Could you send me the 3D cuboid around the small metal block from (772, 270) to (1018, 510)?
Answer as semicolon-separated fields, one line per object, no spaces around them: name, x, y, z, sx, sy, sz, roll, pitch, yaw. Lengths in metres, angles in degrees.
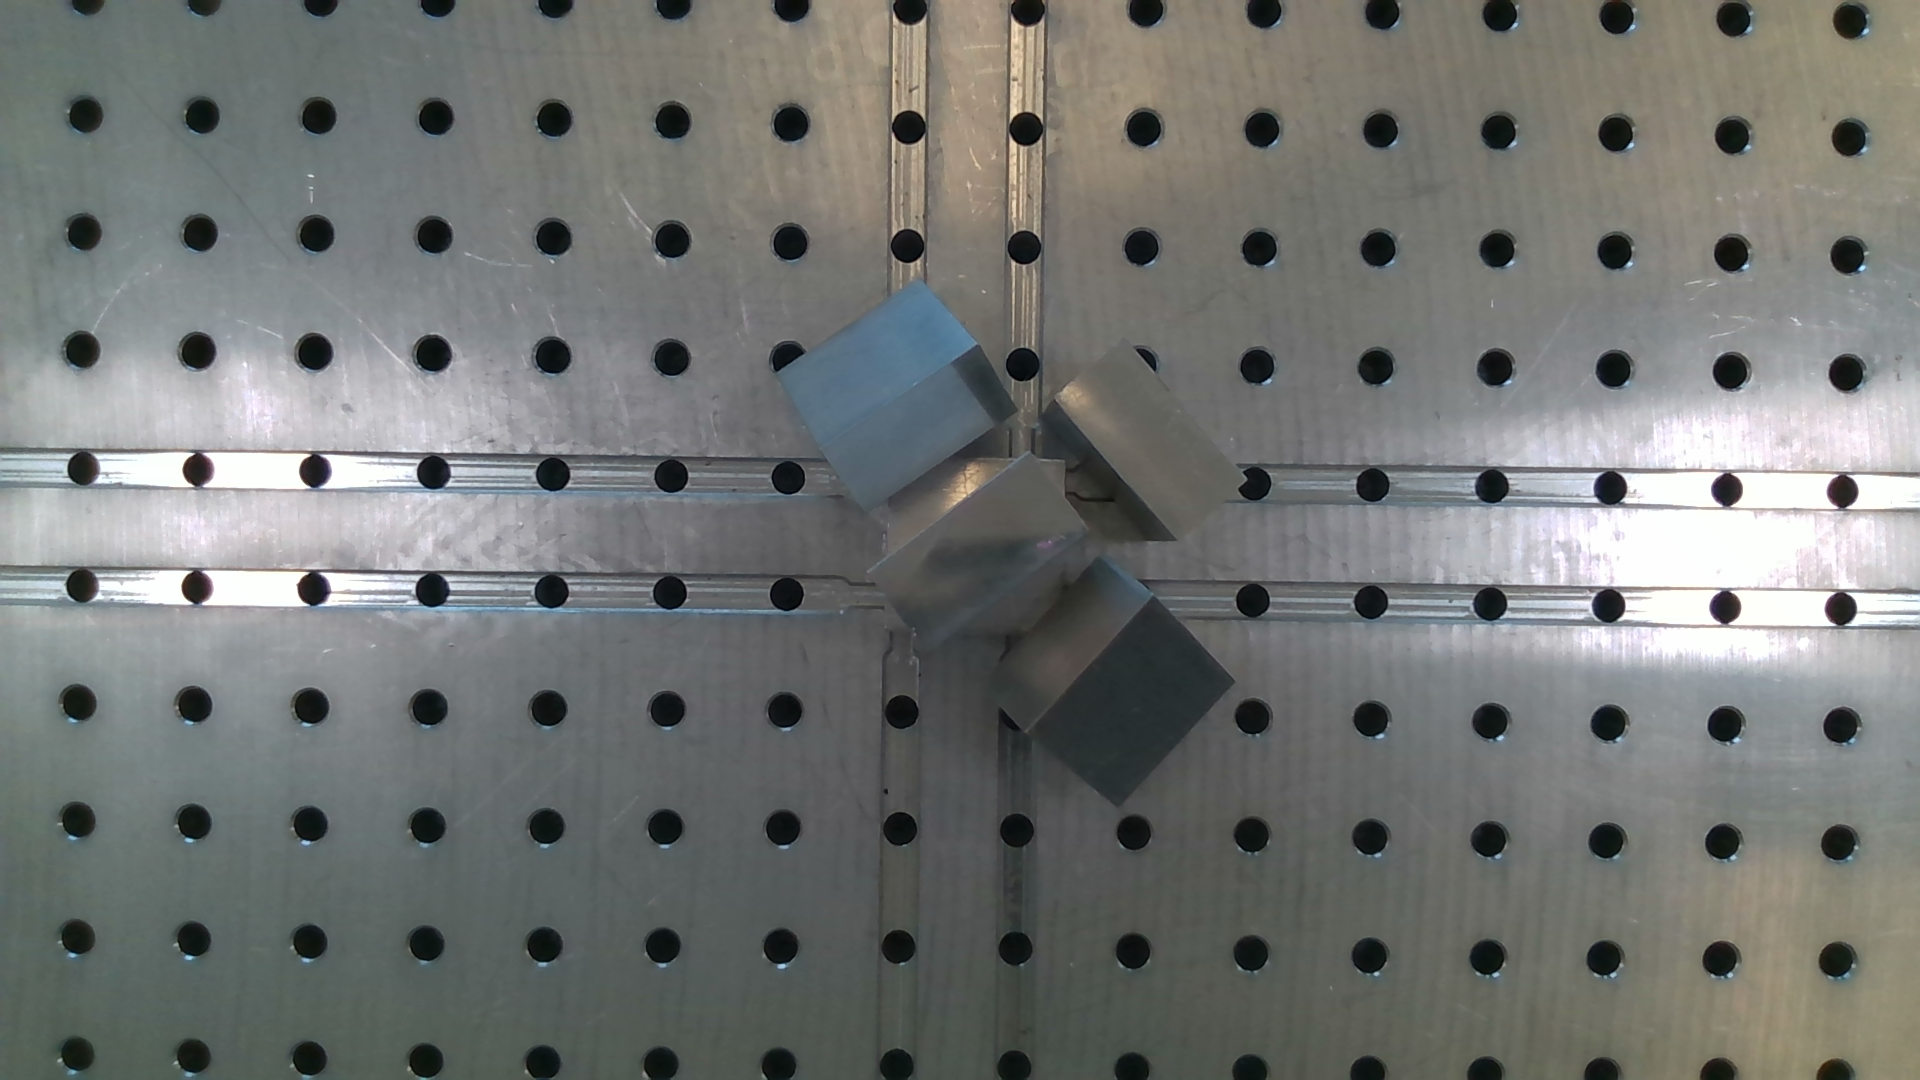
small metal block;-0.019;-0.043;0.382;0.050;0.050;0.025;-34;127;0

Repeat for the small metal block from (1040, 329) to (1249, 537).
small metal block;0.050;-0.028;0.385;0.025;0.050;0.050;-41;90;0

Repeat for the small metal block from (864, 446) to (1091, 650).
small metal block;0.004;0.002;0.360;0.050;0.050;0.025;-36;91;0

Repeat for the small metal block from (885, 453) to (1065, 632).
small metal block;0.004;0.000;0.397;0.050;0.025;0.050;0;91;0

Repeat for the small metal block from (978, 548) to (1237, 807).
small metal block;0.042;0.039;0.384;0.050;0.025;0.050;-47;130;0
